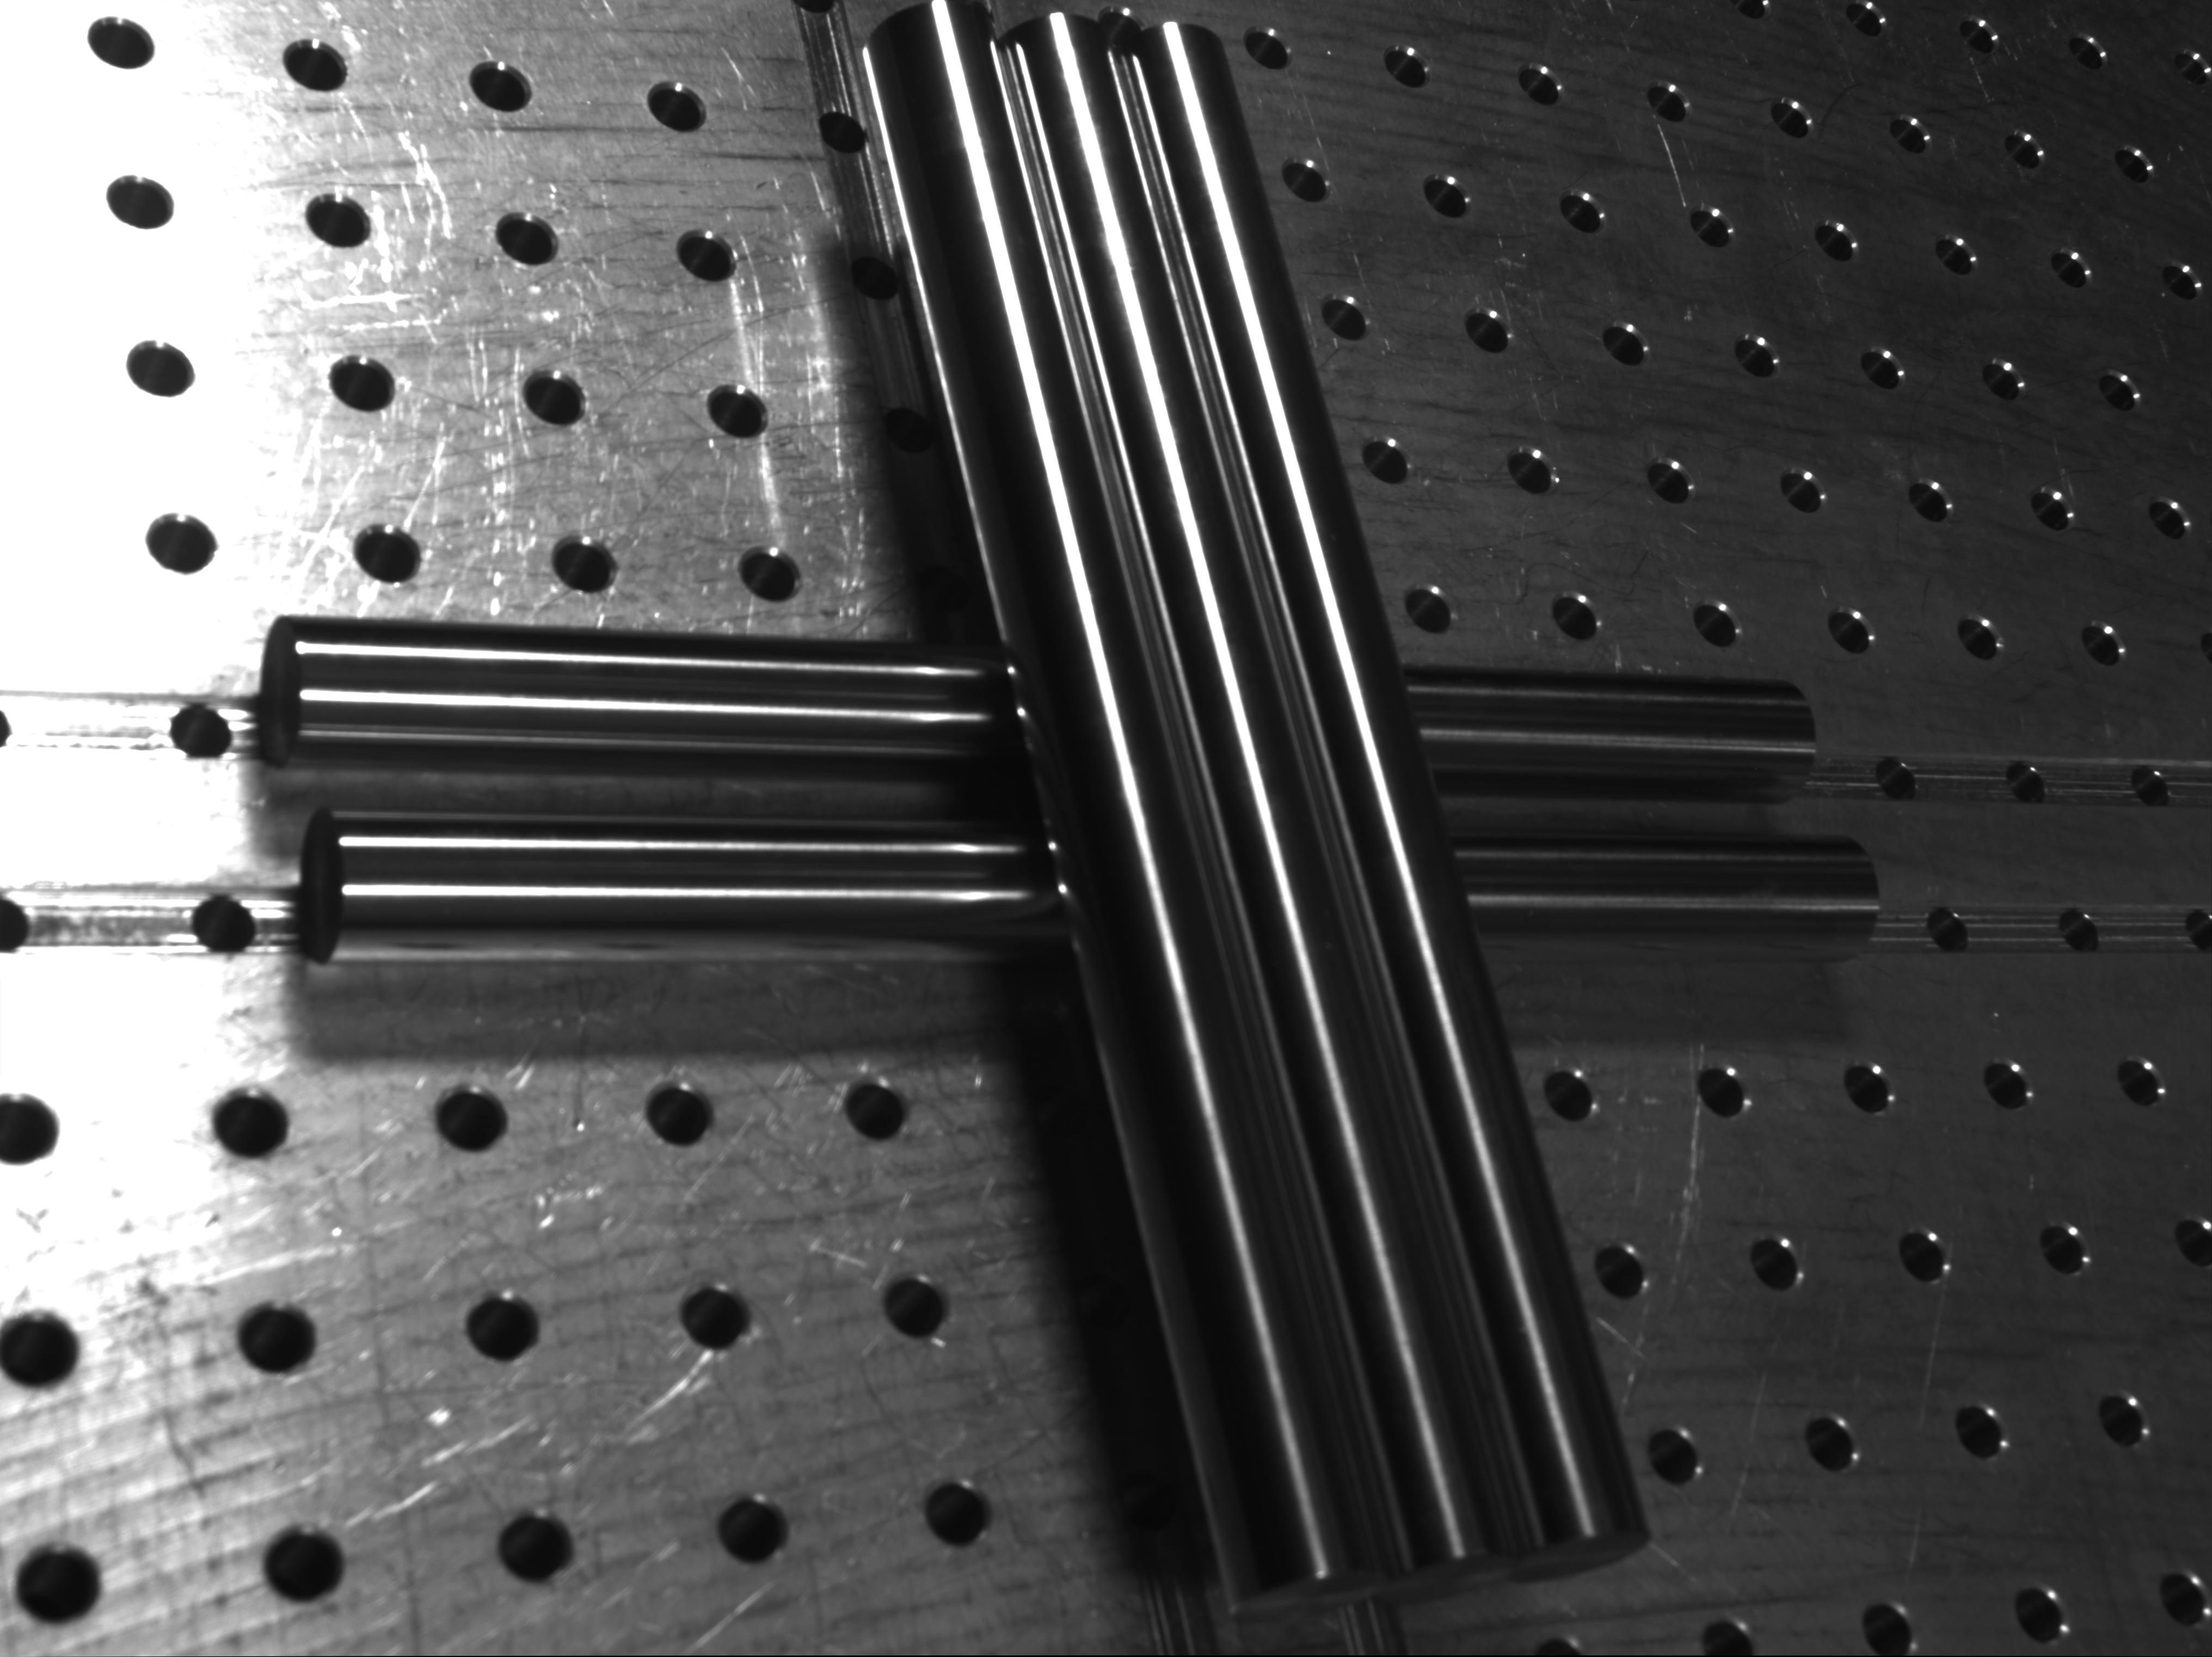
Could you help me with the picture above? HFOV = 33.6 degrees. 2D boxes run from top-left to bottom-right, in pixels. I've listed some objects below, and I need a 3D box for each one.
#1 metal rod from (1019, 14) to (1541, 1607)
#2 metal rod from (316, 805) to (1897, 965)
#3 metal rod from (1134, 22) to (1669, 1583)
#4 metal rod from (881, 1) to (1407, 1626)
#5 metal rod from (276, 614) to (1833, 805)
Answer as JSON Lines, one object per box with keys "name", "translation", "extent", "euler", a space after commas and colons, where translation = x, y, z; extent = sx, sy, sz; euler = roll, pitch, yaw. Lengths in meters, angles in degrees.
{"name": "metal rod", "translation": [0.024, -0.015, 0.633], "extent": [0.025, 0.025, 0.300], "euler": [1, 61, -28]}
{"name": "metal rod", "translation": [0.013, 0.011, 0.643], "extent": [0.301, 0.025, 0.025], "euler": [1, 61, -28]}
{"name": "metal rod", "translation": [0.046, -0.016, 0.646], "extent": [0.025, 0.025, 0.300], "euler": [1, 61, -28]}
{"name": "metal rod", "translation": [0.002, -0.015, 0.621], "extent": [0.025, 0.025, 0.300], "euler": [1, 61, -28]}
{"name": "metal rod", "translation": [0.003, -0.019, 0.657], "extent": [0.301, 0.025, 0.025], "euler": [1, 61, -28]}
